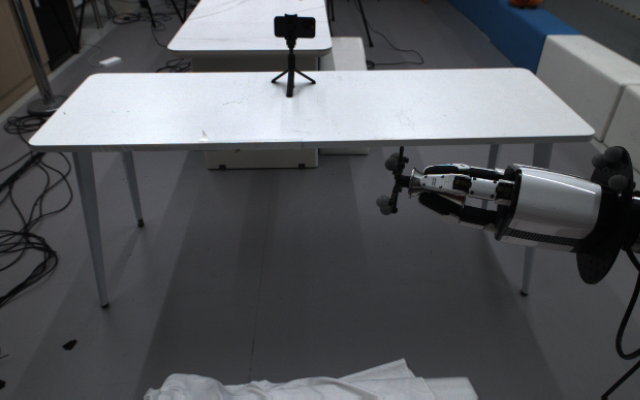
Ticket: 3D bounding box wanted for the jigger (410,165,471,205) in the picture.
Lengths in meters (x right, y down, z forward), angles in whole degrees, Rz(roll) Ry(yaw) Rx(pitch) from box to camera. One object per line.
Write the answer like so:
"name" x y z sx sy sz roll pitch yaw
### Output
"jigger" 0.153 -0.020 0.602 0.071 0.043 0.043 10 35 16
